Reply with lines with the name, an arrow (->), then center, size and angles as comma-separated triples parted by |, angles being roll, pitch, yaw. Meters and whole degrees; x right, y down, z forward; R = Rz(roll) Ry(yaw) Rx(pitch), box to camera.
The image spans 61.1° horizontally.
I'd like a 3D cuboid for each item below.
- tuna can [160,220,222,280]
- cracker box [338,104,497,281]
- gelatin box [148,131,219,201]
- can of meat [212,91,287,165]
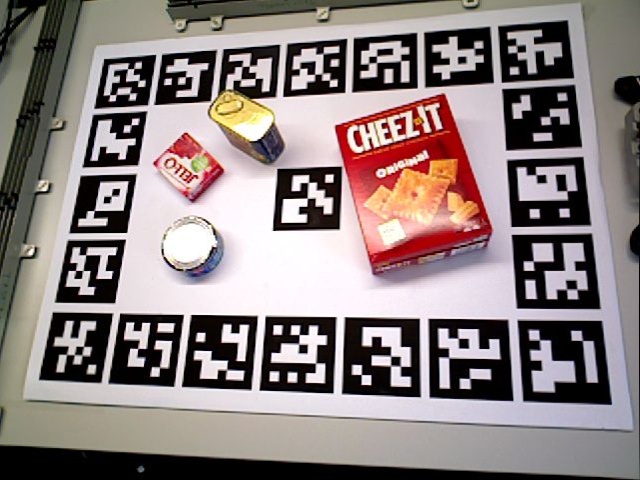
tuna can -> -0.190, 0.016, 0.802 | 0.086, 0.034, 0.085 | -3, 74, 10
cracker box -> 0.129, -0.069, 0.760 | 0.164, 0.072, 0.212 | -16, 68, 3
gelatin box -> -0.215, -0.117, 0.856 | 0.089, 0.030, 0.073 | 42, 80, 17
can of meat -> -0.104, -0.168, 0.832 | 0.102, 0.084, 0.057 | 30, 77, 19
